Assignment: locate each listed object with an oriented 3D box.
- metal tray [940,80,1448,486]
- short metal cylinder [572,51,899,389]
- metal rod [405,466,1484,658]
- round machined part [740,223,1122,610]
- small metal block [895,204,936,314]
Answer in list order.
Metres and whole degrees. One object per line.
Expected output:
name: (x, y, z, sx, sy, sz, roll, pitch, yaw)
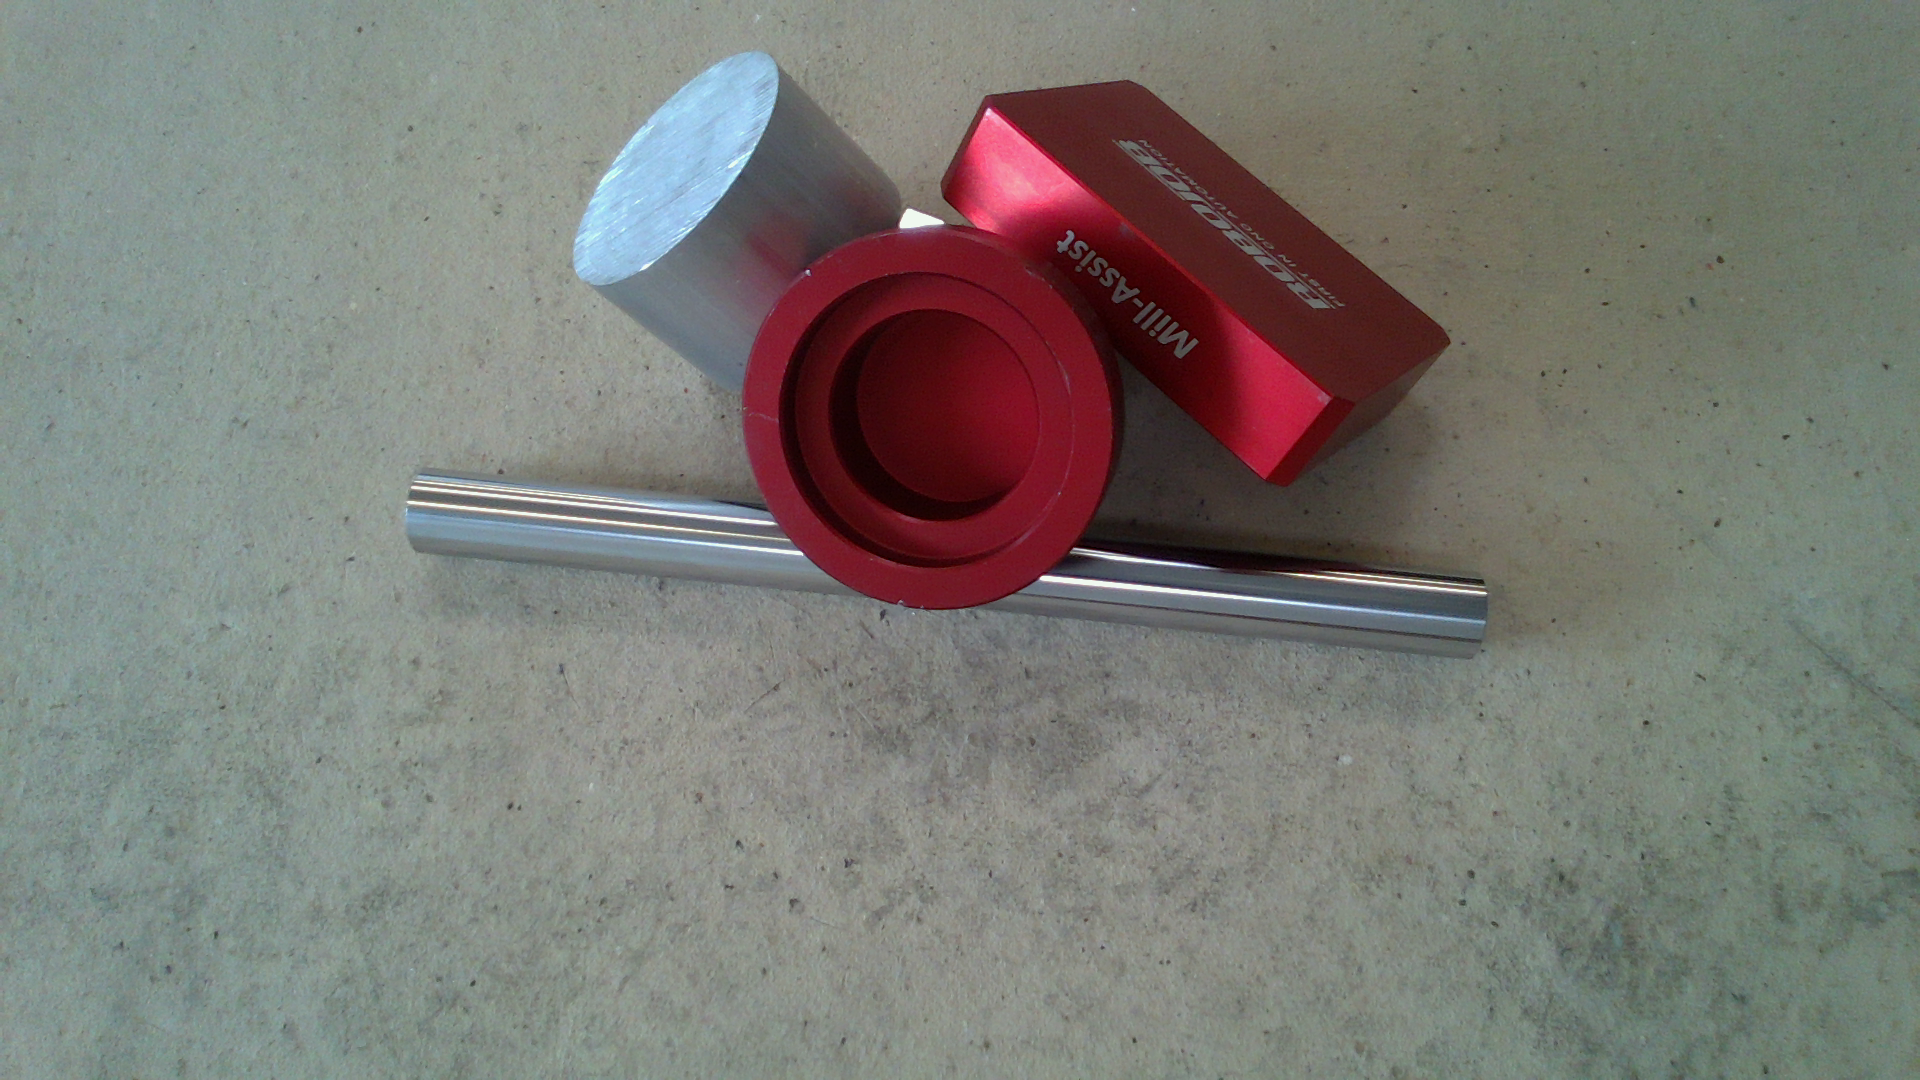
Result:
metal tray: (0.068, -0.079, 0.394, 0.130, 0.030, 0.090, 44, 37, 14)
short metal cylinder: (-0.064, -0.091, 0.393, 0.080, 0.050, 0.080, -26, 45, 29)
metal rod: (-0.006, 0.006, 0.393, 0.300, 0.025, 0.025, 6, 70, 2)
round machined part: (-0.005, -0.034, 0.365, 0.098, 0.042, 0.098, 3, 105, 12)
small metal block: (0.003, -0.066, 0.404, 0.050, 0.050, 0.025, 22, 72, 8)
